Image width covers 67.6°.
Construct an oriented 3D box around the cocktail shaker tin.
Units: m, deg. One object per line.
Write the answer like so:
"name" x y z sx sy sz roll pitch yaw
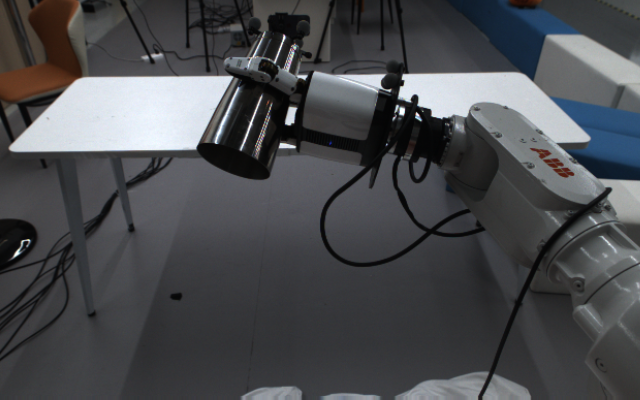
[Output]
"cocktail shaker tin" -0.080 -0.122 0.602 0.093 0.093 0.170 13 70 15
